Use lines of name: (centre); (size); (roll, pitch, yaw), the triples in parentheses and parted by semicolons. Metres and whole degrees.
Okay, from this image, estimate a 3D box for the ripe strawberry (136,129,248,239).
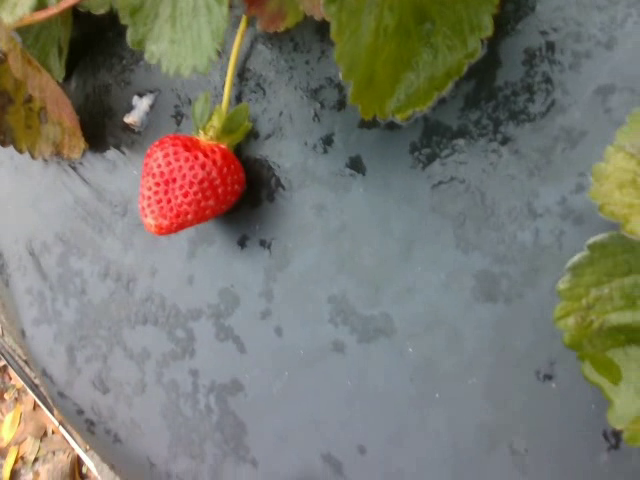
ripe strawberry: (-0.057, -0.022, 0.251); (0.045, 0.054, 0.048); (0, -35, 49)
